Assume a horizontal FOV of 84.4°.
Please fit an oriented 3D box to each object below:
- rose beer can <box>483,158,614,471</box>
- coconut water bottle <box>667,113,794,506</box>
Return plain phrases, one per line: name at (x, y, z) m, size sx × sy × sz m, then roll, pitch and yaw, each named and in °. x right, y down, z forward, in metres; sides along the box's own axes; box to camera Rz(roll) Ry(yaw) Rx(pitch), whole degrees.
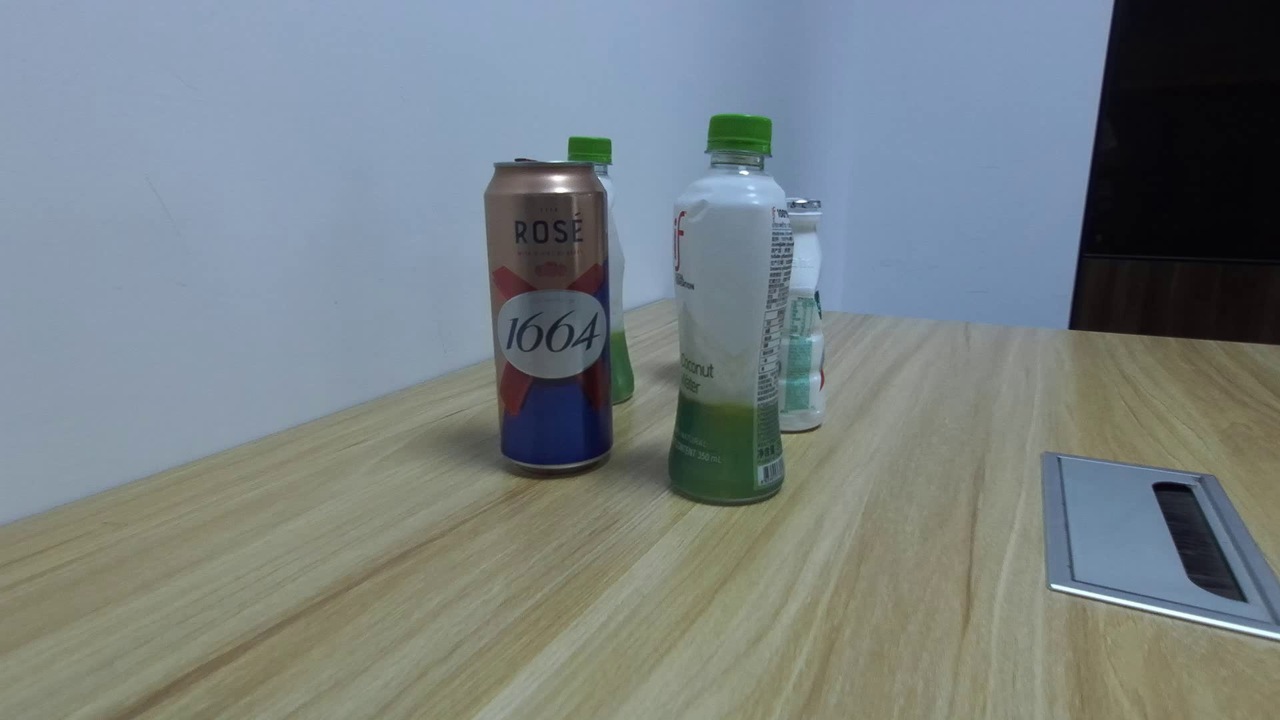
rose beer can at (-0.050, -0.023, 0.401) m, size 0.068 × 0.169 × 0.068 m, roll 1°, pitch 13°, yaw 0°
coconut water bottle at (0.046, -0.025, 0.359) m, size 0.069 × 0.187 × 0.069 m, roll -1°, pitch 12°, yaw 0°
